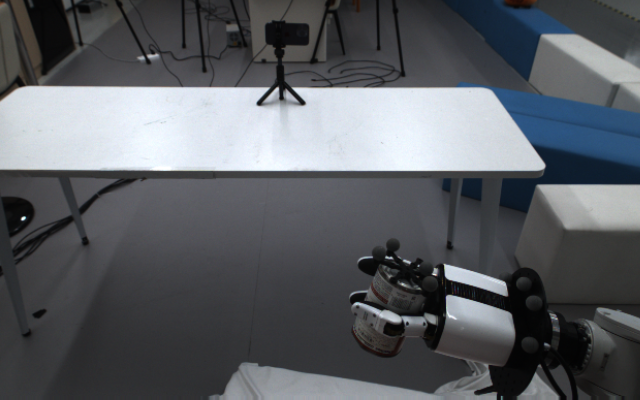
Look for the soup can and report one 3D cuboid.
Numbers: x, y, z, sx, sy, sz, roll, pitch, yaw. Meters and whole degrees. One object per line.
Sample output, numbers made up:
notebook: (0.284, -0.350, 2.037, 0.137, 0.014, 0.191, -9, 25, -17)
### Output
soup can: (0.090, 0.133, 0.600, 0.067, 0.101, 0.067, 16, 21, -7)
